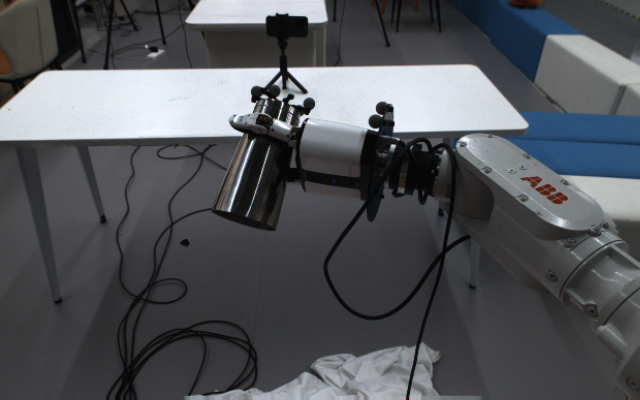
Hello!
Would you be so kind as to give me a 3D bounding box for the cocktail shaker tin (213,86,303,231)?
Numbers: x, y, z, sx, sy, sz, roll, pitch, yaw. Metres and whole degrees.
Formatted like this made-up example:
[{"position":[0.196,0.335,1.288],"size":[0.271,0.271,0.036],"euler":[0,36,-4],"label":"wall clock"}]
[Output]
[{"position":[-0.080,-0.054,0.678],"size":[0.093,0.093,0.170],"euler":[13,77,15],"label":"cocktail shaker tin"}]
